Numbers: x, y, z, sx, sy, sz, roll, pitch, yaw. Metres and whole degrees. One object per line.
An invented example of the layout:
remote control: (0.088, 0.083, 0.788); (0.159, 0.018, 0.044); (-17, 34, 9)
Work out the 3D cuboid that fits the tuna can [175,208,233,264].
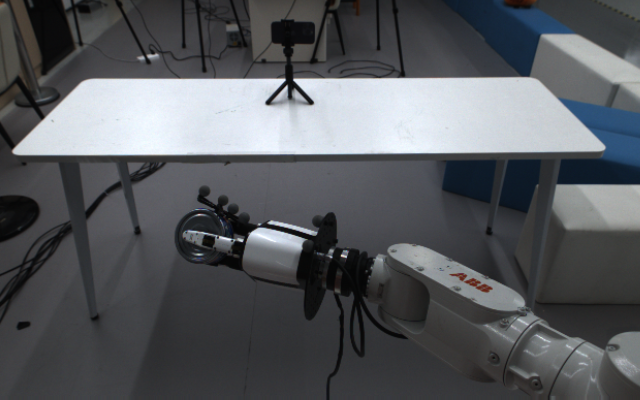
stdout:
tuna can: (-0.178, 0.057, 0.744); (0.085, 0.085, 0.034); (12, -5, 13)
